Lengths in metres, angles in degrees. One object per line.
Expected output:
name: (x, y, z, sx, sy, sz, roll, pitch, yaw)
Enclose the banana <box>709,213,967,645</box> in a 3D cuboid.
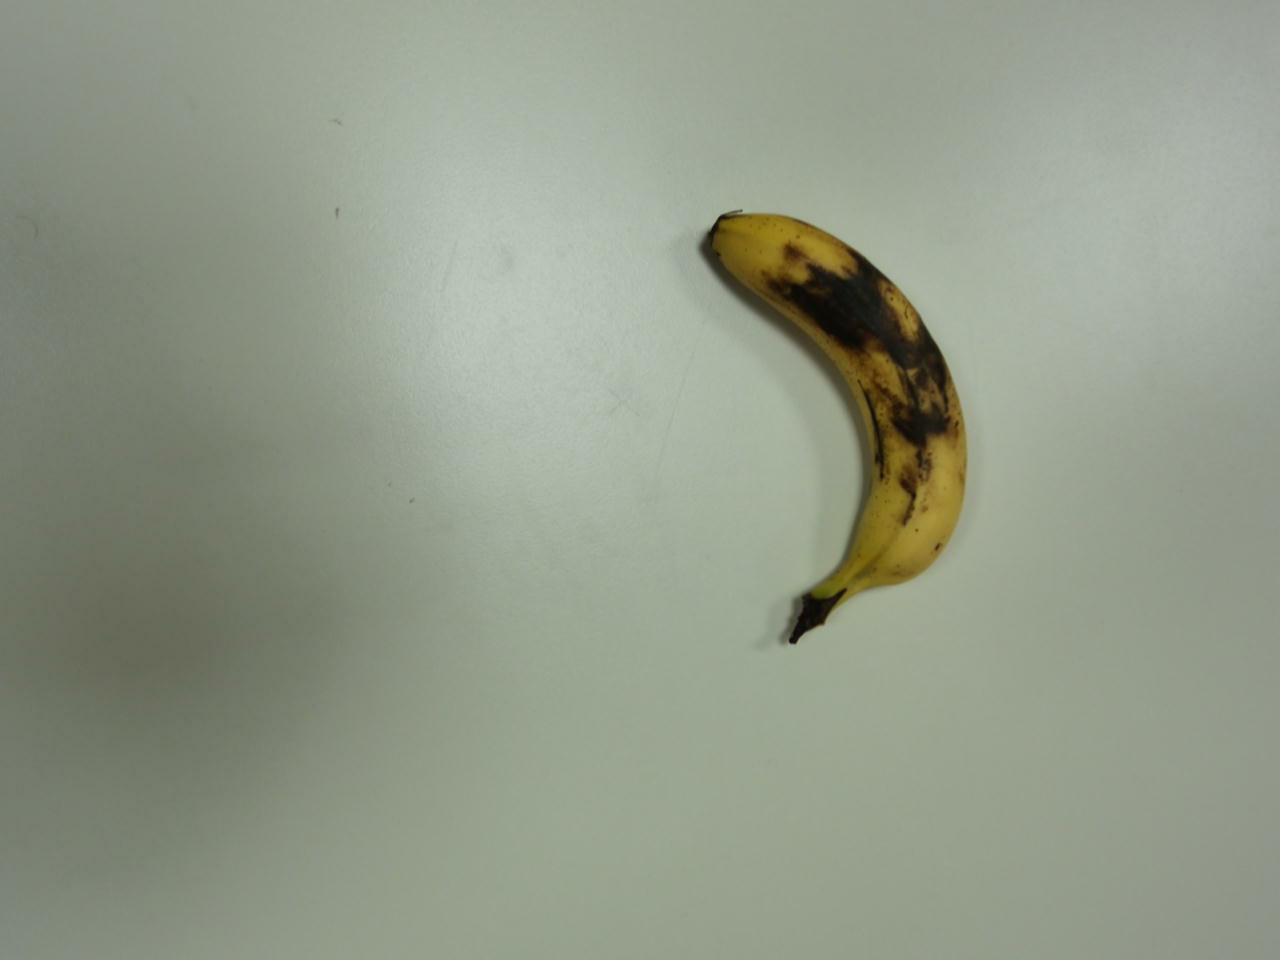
banana: (0.093, -0.031, 0.437, 0.094, 0.039, 0.187, -12, 93, -11)
